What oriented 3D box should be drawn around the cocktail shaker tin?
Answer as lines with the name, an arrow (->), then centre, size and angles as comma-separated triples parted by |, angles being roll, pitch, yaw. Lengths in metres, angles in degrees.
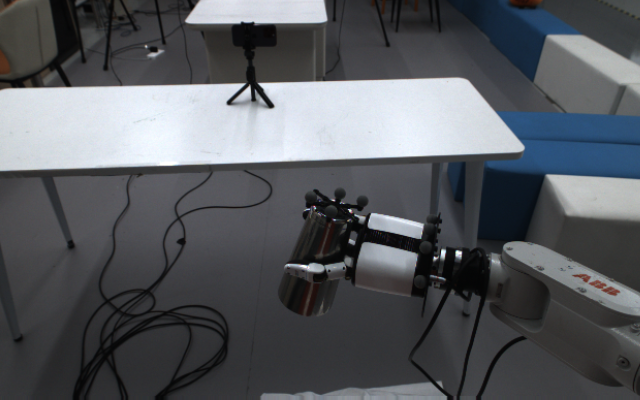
cocktail shaker tin -> 0.000, 0.083, 0.745 | 0.093, 0.170, 0.093 | 12, 29, -7
